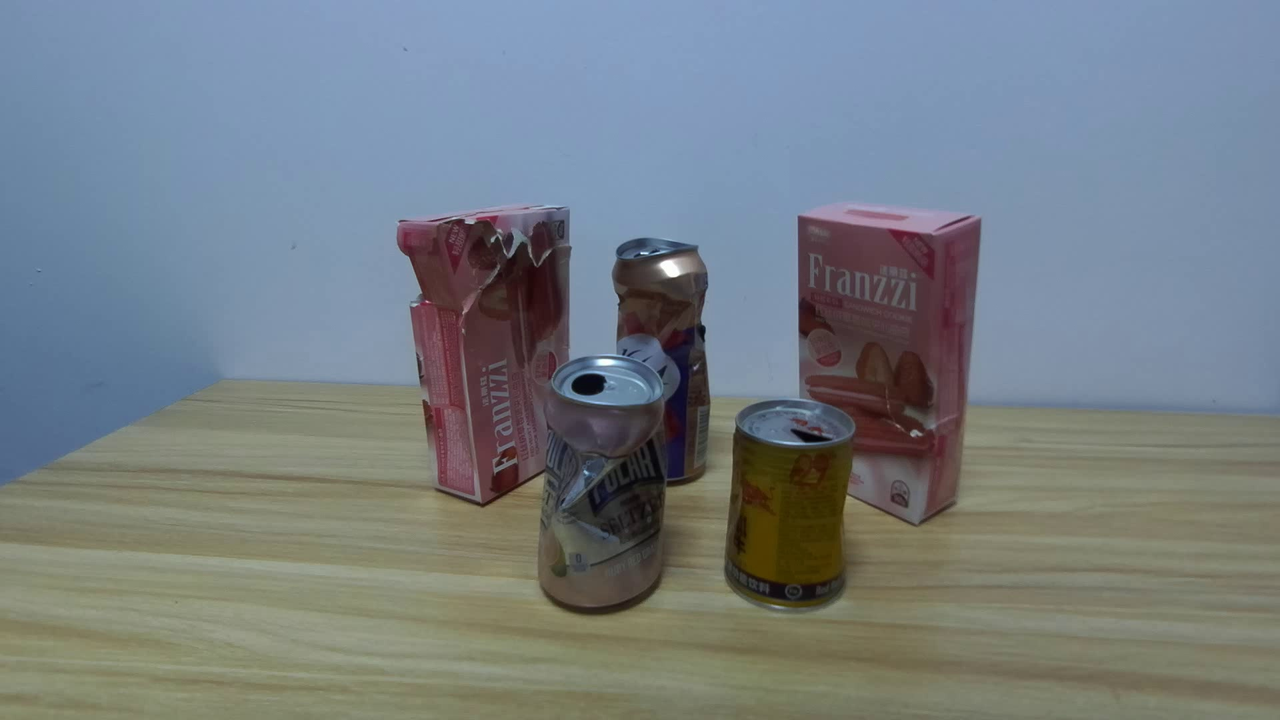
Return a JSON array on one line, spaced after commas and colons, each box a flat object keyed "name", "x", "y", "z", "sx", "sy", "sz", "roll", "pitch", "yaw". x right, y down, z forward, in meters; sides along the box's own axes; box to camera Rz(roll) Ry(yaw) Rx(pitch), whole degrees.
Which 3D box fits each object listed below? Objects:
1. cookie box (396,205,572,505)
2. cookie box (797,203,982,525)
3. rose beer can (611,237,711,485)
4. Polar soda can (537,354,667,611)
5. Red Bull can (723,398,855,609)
[{"name": "cookie box", "x": -0.092, "y": -0.006, "z": 0.475, "sx": 0.059, "sy": 0.186, "sz": 0.105, "roll": 11, "pitch": 23, "yaw": 36}, {"name": "cookie box", "x": 0.152, "y": 0.004, "z": 0.438, "sx": 0.049, "sy": 0.188, "sz": 0.104, "roll": -20, "pitch": 26, "yaw": -32}, {"name": "rose beer can", "x": 0.015, "y": 0.002, "z": 0.481, "sx": 0.073, "sy": 0.162, "sz": 0.068, "roll": 4, "pitch": 18, "yaw": 19}, {"name": "Polar soda can", "x": -0.018, "y": 0.066, "z": 0.362, "sx": 0.066, "sy": 0.121, "sz": 0.071, "roll": 3, "pitch": 18, "yaw": -2}, {"name": "Red Bull can", "x": 0.078, "y": 0.073, "z": 0.369, "sx": 0.069, "sy": 0.092, "sz": 0.069, "roll": -1, "pitch": 19, "yaw": 1}]
